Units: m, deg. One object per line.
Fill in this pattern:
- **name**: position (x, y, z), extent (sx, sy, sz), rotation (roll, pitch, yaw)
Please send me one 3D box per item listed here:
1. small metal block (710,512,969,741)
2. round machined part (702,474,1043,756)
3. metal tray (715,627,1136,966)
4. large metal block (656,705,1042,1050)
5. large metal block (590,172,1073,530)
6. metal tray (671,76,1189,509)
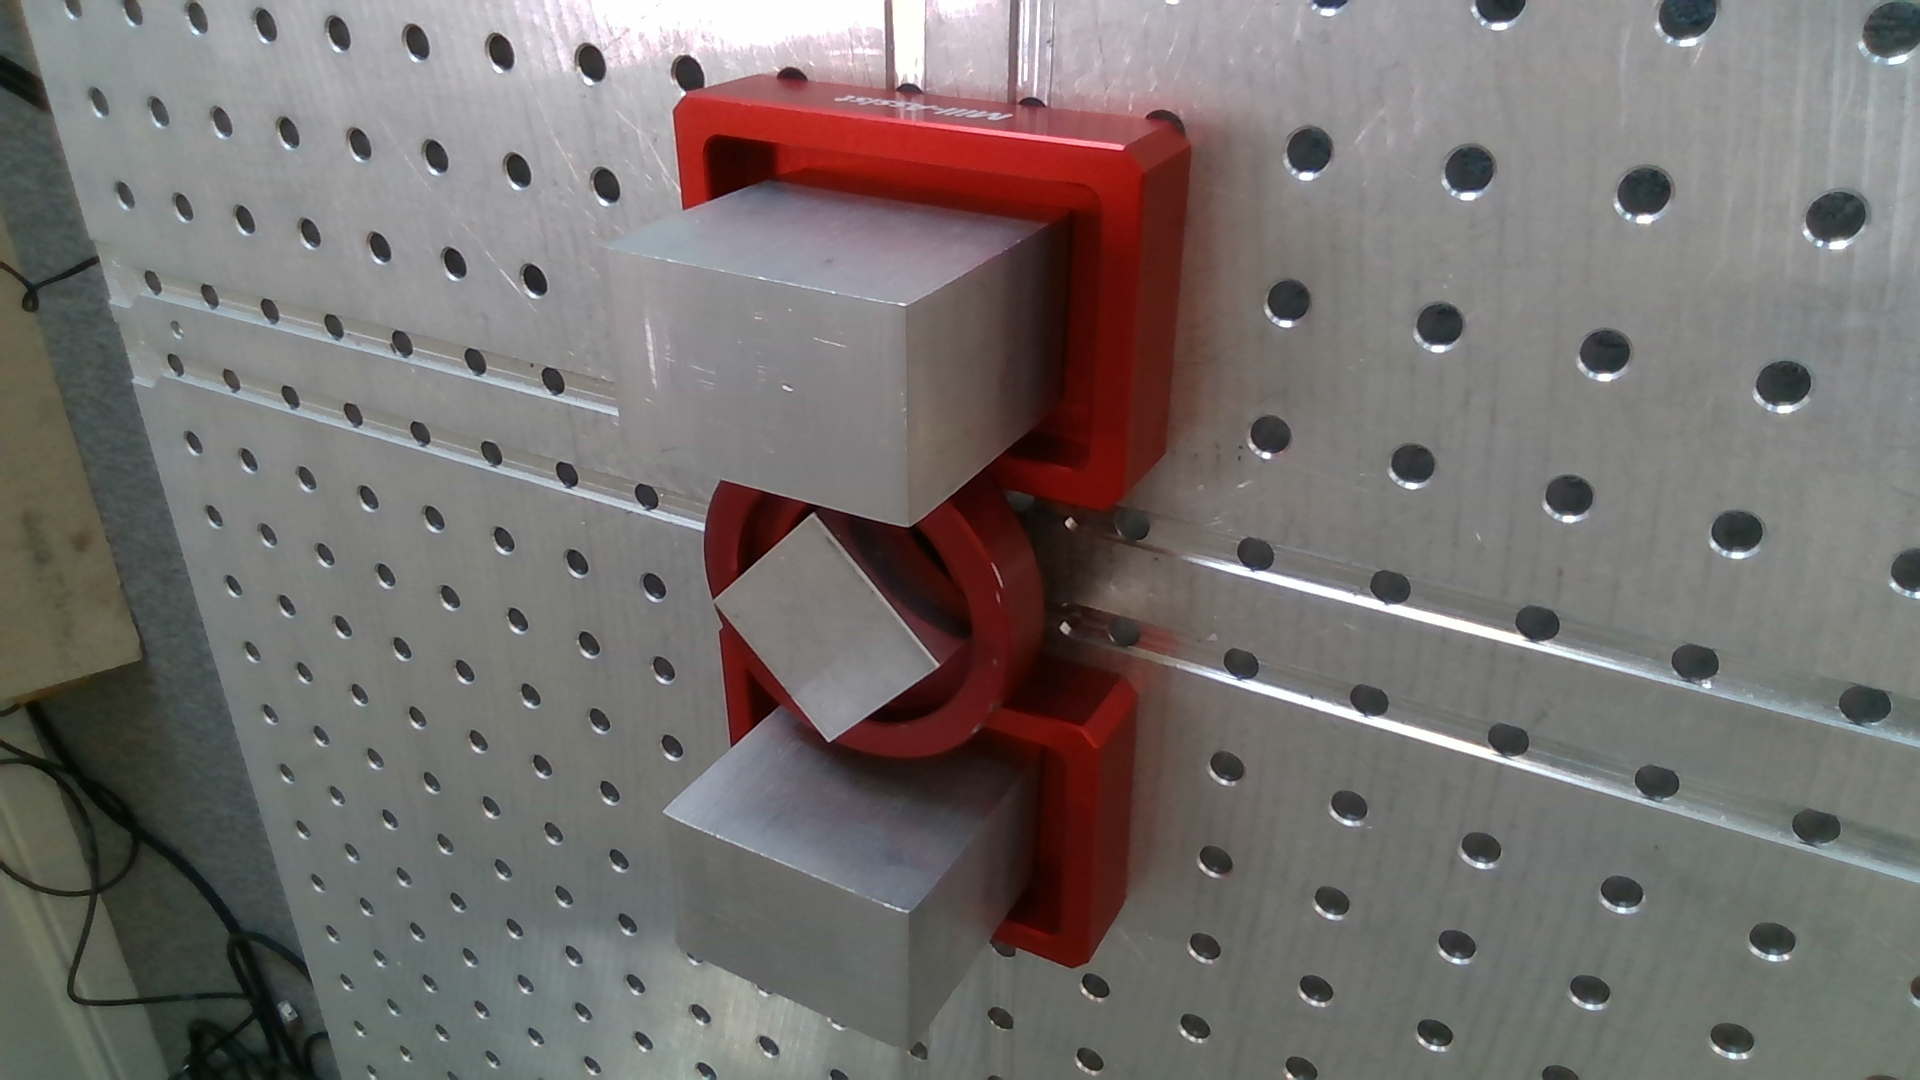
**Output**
- **small metal block**: position (-0.031, 0.018, 0.369), extent (0.050, 0.025, 0.050), rotation (51, 129, -2)
- **round machined part**: position (-0.021, 0.008, 0.387), extent (0.098, 0.042, 0.098), rotation (15, 122, 25)
- **metal tray**: position (-0.013, 0.071, 0.435), extent (0.130, 0.030, 0.090), rotation (14, 122, 25)
- **large metal block**: position (-0.030, 0.090, 0.407), extent (0.080, 0.080, 0.050), rotation (16, 122, 24)
- **large metal block**: position (-0.027, -0.050, 0.329), extent (0.080, 0.080, 0.050), rotation (15, 122, 24)
- **metal tray**: position (-0.011, -0.067, 0.358), extent (0.130, 0.030, 0.090), rotation (15, 122, 24)
